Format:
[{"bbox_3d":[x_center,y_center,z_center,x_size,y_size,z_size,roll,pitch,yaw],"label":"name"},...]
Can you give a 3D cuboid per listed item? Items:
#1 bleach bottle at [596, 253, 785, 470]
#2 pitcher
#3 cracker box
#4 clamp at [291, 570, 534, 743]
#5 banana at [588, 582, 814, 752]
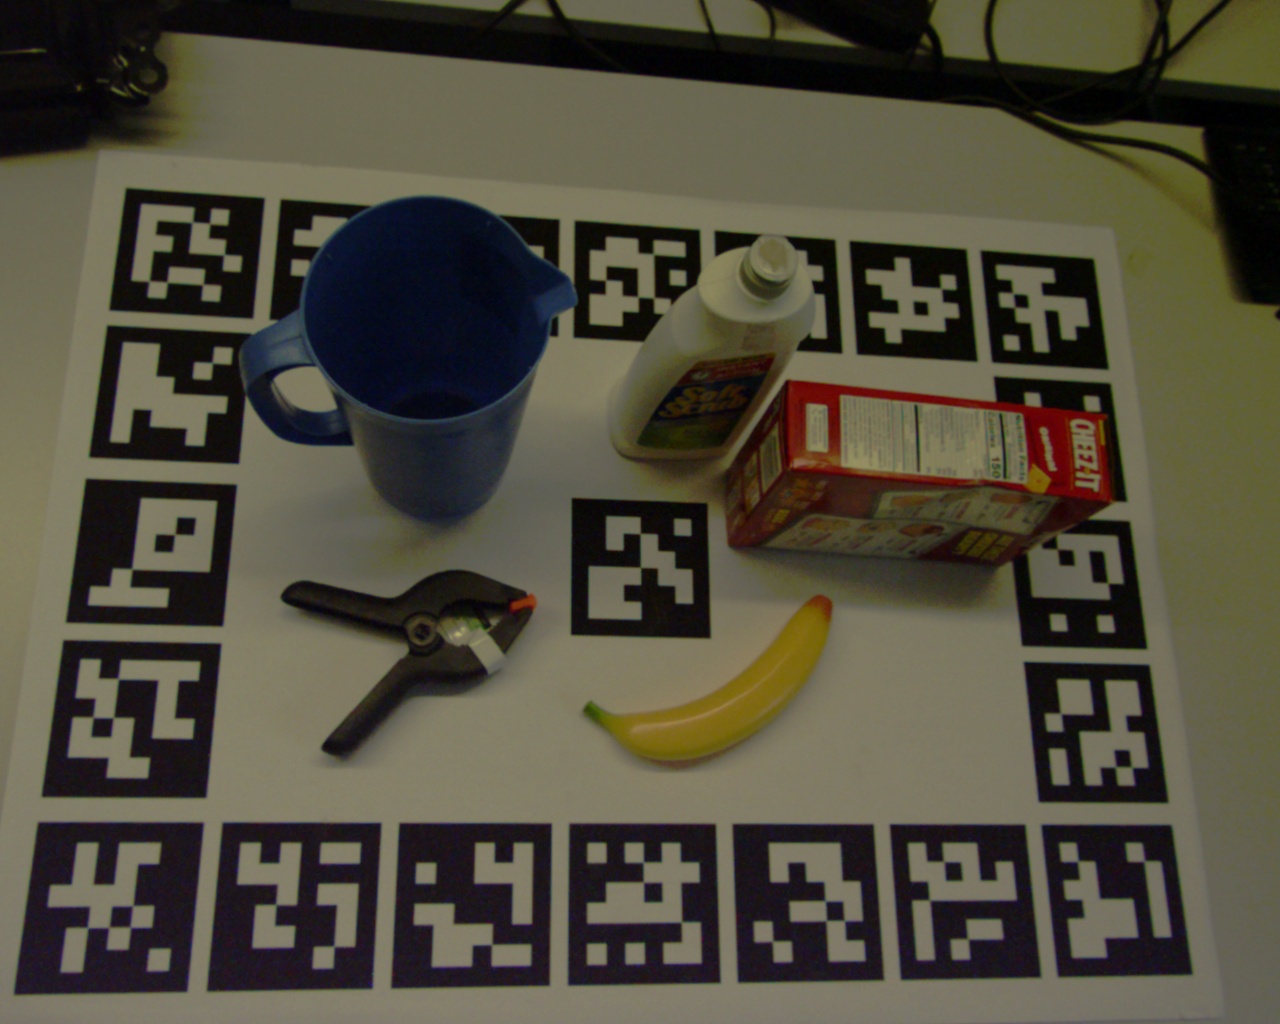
[{"bbox_3d":[0.034,-0.103,0.794,0.102,0.251,0.068,2,71,-8],"label":"bleach bottle"},{"bbox_3d":[-0.148,-0.078,0.740,0.187,0.243,0.134,-16,75,-16],"label":"pitcher"},{"bbox_3d":[0.183,-0.017,0.816,0.213,0.164,0.072,4,69,-6],"label":"cracker box"},{"bbox_3d":[-0.155,0.087,0.816,0.164,0.036,0.122,-14,73,-14],"label":"clamp"},{"bbox_3d":[0.061,0.121,0.844,0.196,0.039,0.074,-32,78,-16],"label":"banana"}]
